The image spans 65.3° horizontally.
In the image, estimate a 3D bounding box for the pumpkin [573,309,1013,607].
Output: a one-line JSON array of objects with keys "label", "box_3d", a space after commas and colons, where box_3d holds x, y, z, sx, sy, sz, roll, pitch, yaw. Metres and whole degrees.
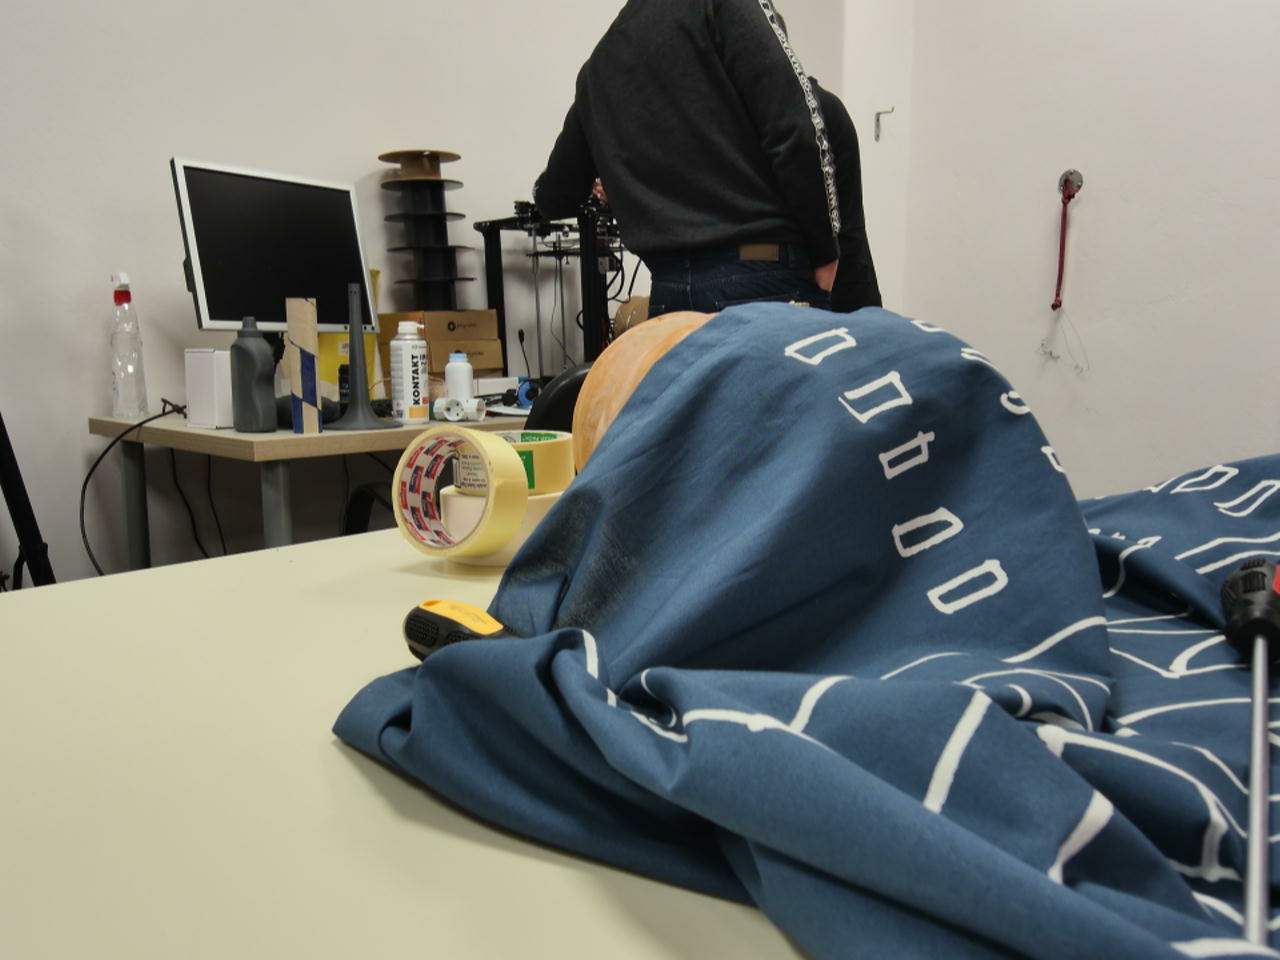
[{"label": "pumpkin", "box_3d": [0.088, -0.018, 0.634, 0.277, 0.181, 0.277, 1, 6, 0]}]
